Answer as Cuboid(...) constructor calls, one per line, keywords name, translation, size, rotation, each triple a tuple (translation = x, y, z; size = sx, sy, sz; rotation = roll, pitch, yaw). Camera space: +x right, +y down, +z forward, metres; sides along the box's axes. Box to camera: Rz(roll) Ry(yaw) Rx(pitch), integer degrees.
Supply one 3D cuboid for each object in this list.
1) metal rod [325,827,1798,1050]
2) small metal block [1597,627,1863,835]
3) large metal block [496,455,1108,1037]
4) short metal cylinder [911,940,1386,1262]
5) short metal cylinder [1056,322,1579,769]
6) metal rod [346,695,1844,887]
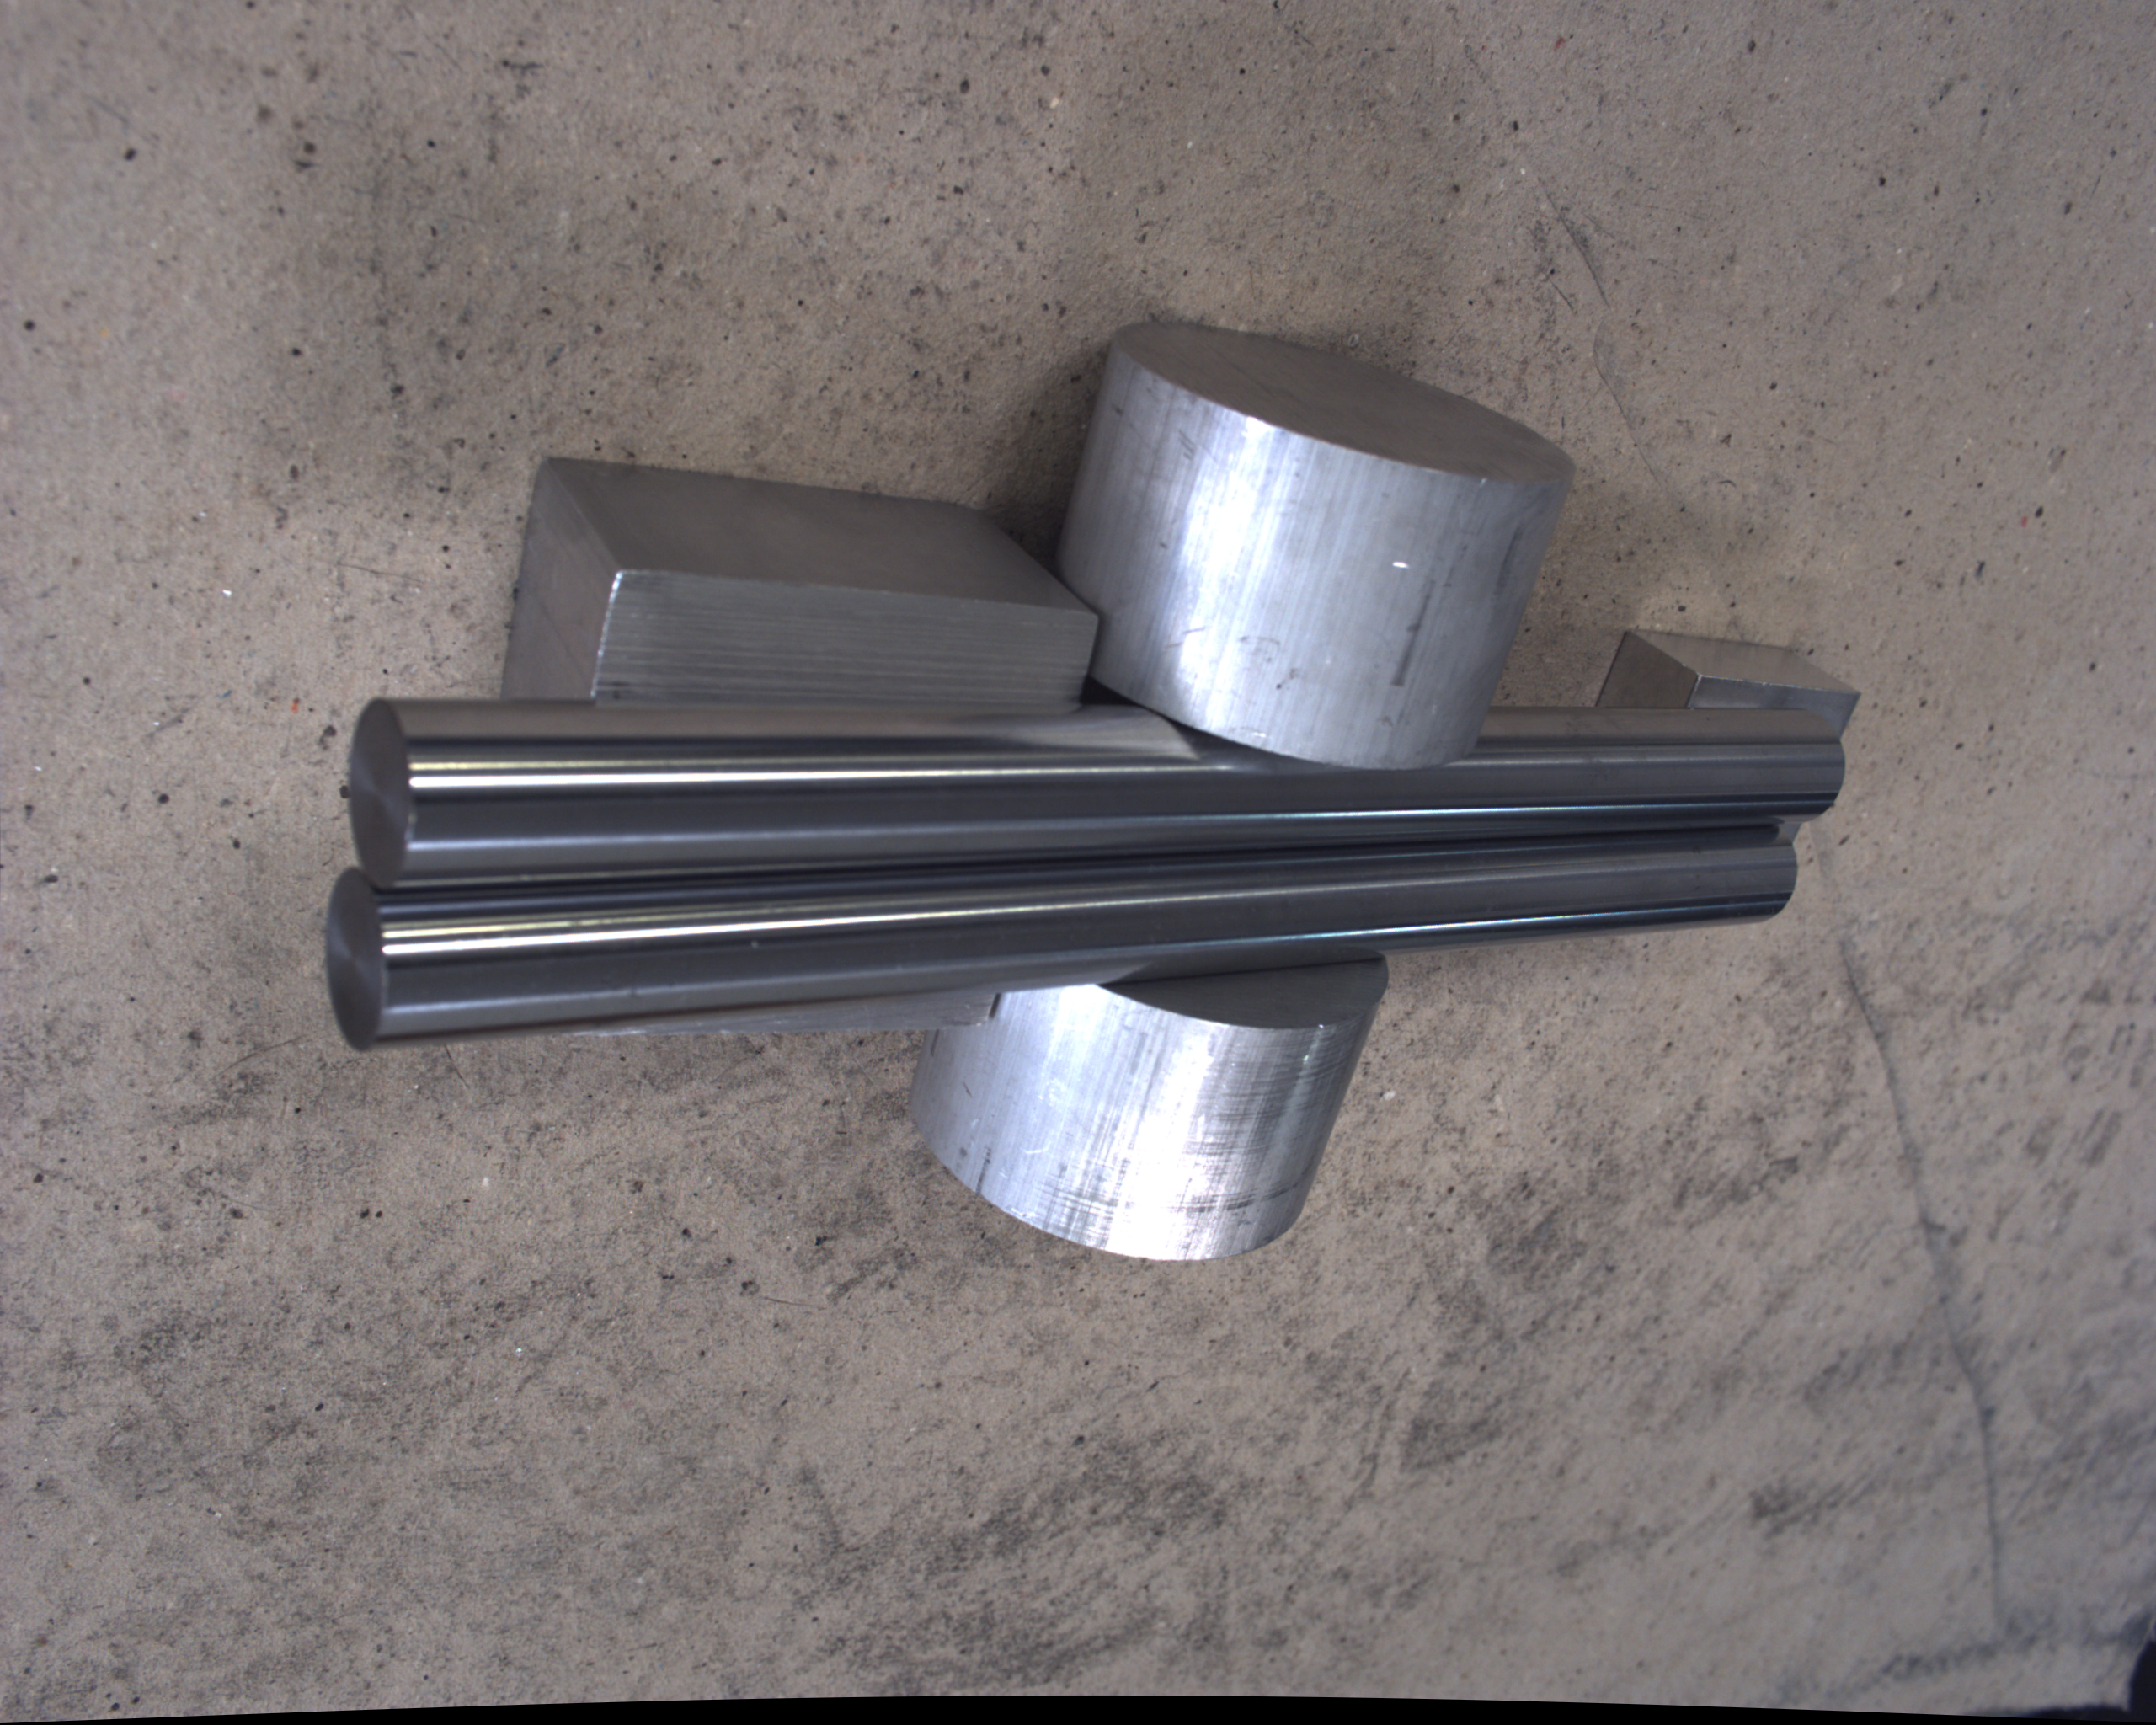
Cuboid(name="metal rod", translation=(0.025, 0.007, 0.368), size=(0.302, 0.025, 0.025), rotation=(-3, 120, -36))
Cuboid(name="small metal block", translation=(0.141, -0.023, 0.472), size=(0.050, 0.025, 0.050), rotation=(3, 117, -30))
Cuboid(name="large metal block", translation=(-0.051, -0.018, 0.353), size=(0.081, 0.050, 0.079), rotation=(2, 118, -29))
Cuboid(name="short metal cylinder", translation=(0.013, 0.031, 0.399), size=(0.081, 0.080, 0.050), rotation=(1, 118, -29))
Cuboid(name="short metal cylinder", translation=(0.039, -0.056, 0.359), size=(0.081, 0.080, 0.050), rotation=(1, 118, -29))
Cuboid(name="metal rod", translation=(0.031, -0.015, 0.358), size=(0.302, 0.025, 0.025), rotation=(-3, 120, -36))
